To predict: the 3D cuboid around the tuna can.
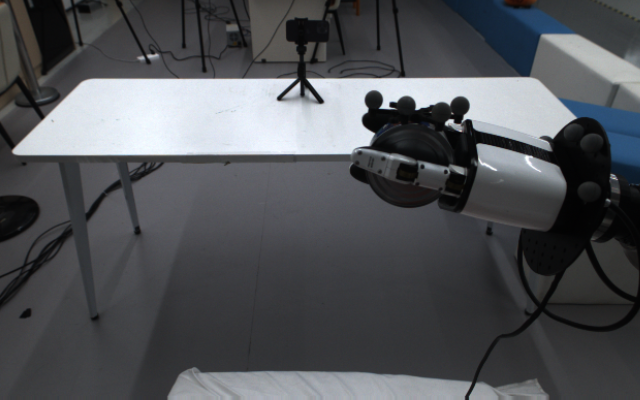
[{"bbox_3d":[0.090,-0.039,0.481,0.085,0.085,0.034,7,23,6],"label":"tuna can"}]
